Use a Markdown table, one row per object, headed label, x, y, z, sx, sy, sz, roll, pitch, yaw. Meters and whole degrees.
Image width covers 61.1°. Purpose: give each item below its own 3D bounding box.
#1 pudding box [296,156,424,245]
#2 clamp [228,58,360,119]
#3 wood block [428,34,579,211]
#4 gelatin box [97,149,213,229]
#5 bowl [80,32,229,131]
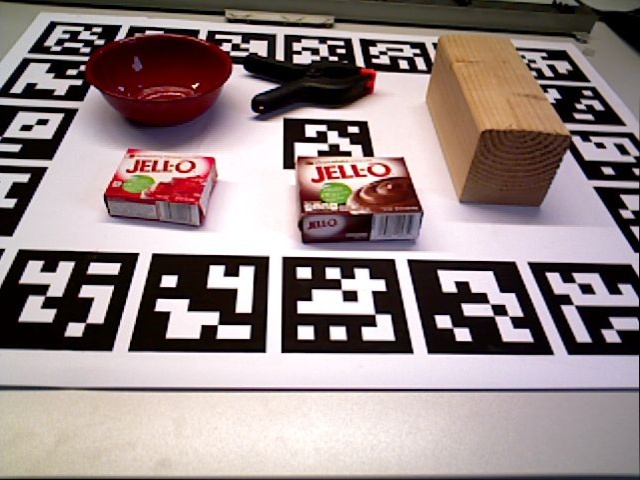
| label | x | y | z | sx | sy | sz | roll | pitch | yaw |
| --- | --- | --- | --- | --- | --- | --- | --- | --- | --- |
| pudding box | 0.034 | -0.038 | 0.515 | 0.113 | 0.039 | 0.088 | -1 | 50 | -4 |
| clamp | -0.029 | -0.192 | 0.672 | 0.163 | 0.037 | 0.120 | -5 | 46 | -14 |
| wood block | 0.187 | -0.135 | 0.588 | 0.089 | 0.093 | 0.203 | 4 | 45 | -5 |
| gelatin box | -0.152 | -0.050 | 0.510 | 0.089 | 0.031 | 0.072 | 7 | 47 | 1 |
| bowl | -0.185 | -0.174 | 0.622 | 0.160 | 0.056 | 0.159 | 3 | 48 | -4 |
